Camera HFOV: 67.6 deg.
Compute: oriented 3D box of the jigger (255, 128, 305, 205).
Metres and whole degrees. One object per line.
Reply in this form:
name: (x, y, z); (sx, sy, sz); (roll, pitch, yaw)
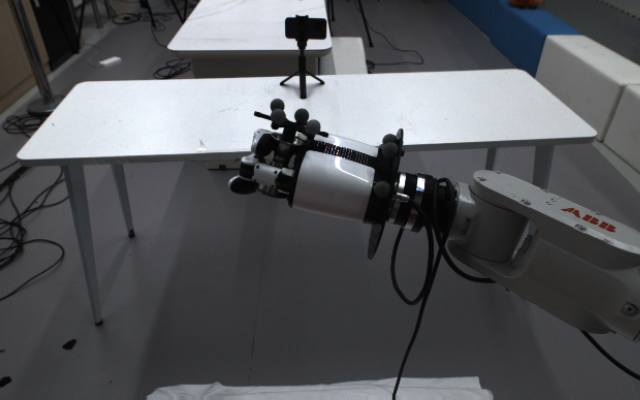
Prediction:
jigger: (-0.047, -0.041, 0.577); (0.043, 0.071, 0.043); (18, 17, -6)
